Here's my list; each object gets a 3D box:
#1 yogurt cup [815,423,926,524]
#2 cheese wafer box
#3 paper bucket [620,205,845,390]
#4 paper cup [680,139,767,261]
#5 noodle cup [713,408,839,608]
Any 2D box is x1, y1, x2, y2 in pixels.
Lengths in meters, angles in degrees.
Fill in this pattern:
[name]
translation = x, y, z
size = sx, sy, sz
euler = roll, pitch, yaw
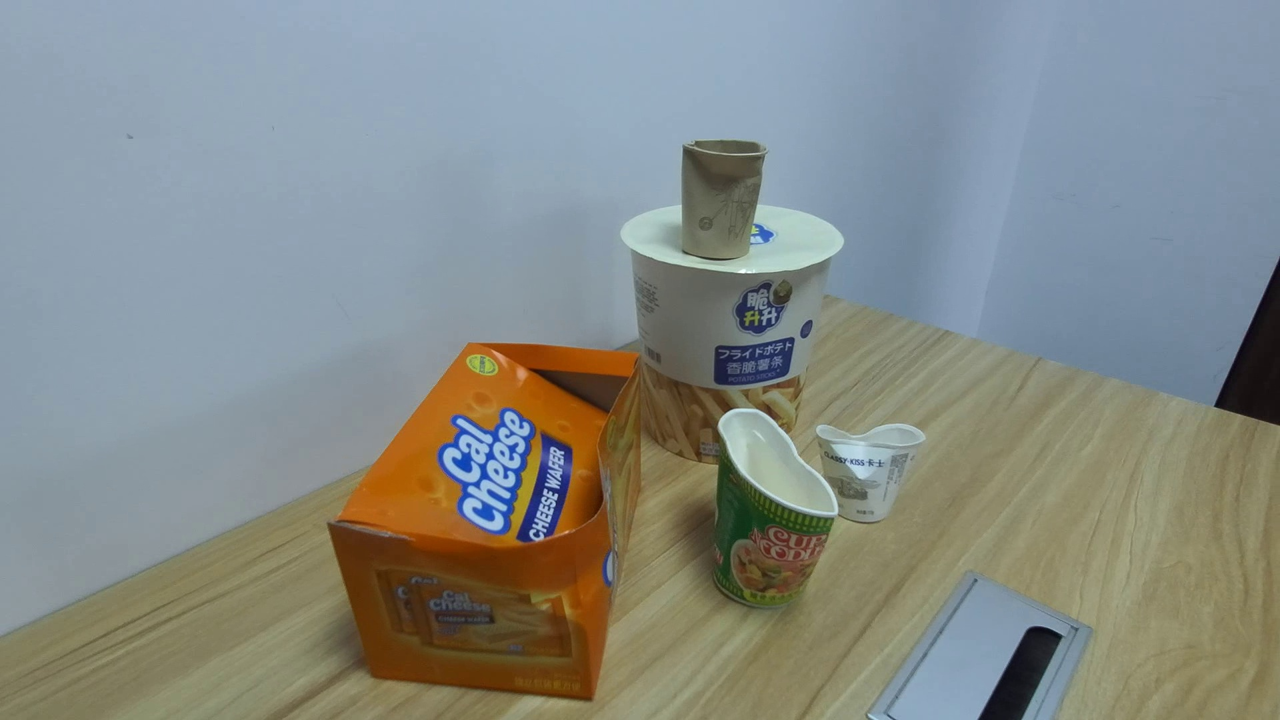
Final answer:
[yogurt cup]
translation = 0.180, 0.086, 0.569
size = 0.076, 0.071, 0.053
euler = -12, 30, -24
[cheese wafer box]
translation = -0.082, 0.099, 0.494
size = 0.152, 0.132, 0.230
euler = 5, 27, 5
[paper bucket]
translation = 0.077, -0.025, 0.648
size = 0.198, 0.195, 0.198
euler = 0, 28, 0
[paper cup]
translation = 0.065, -0.126, 0.548
size = 0.066, 0.084, 0.071
euler = 6, 24, 12
[noodle cup]
translation = 0.088, 0.107, 0.488
size = 0.070, 0.111, 0.115
euler = 1, 28, 5
